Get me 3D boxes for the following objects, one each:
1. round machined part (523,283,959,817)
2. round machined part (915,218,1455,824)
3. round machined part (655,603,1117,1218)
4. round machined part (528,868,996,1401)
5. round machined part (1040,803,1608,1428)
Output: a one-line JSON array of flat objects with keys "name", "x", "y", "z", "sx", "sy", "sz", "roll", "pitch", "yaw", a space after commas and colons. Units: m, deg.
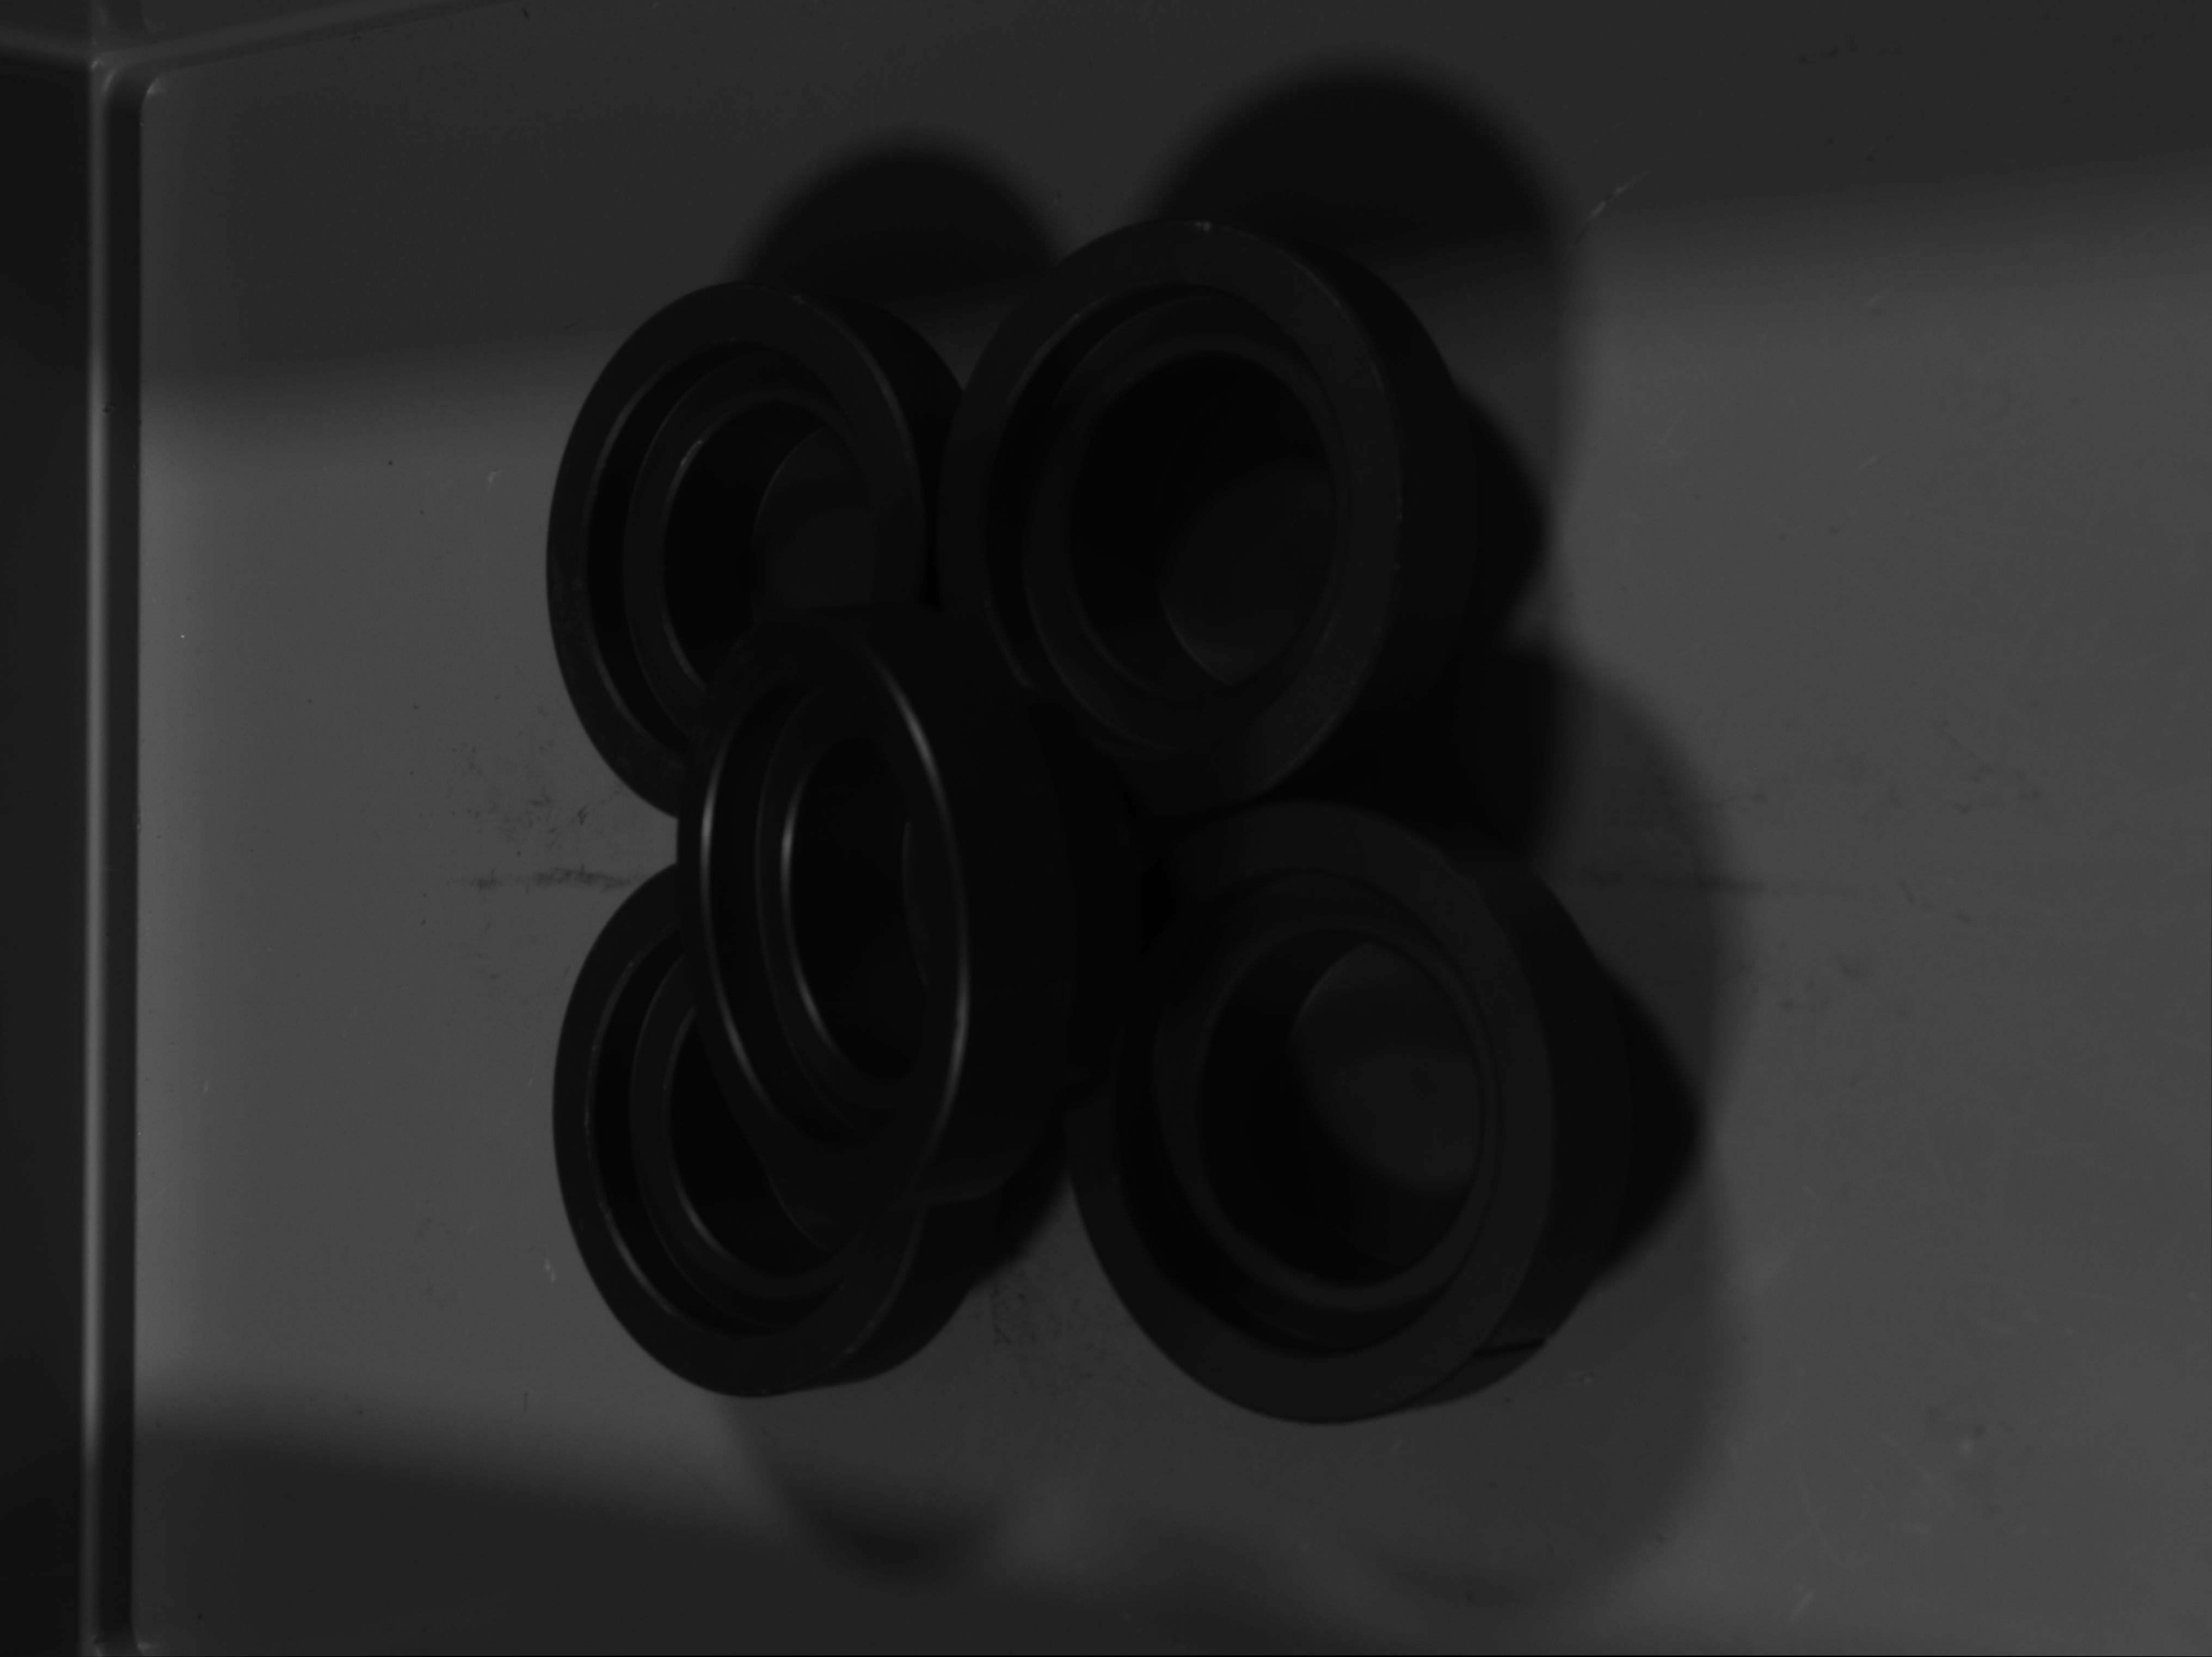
[{"name": "round machined part", "x": -0.059, "y": -0.049, "z": 0.672, "sx": 0.098, "sy": 0.042, "sz": 0.098, "roll": 0, "pitch": 90, "yaw": 39}, {"name": "round machined part", "x": 0.018, "y": -0.050, "z": 0.609, "sx": 0.098, "sy": 0.042, "sz": 0.098, "roll": 0, "pitch": 90, "yaw": 39}, {"name": "round machined part", "x": -0.034, "y": 0.012, "z": 0.596, "sx": 0.098, "sy": 0.042, "sz": 0.098, "roll": 13, "pitch": 106, "yaw": 57}, {"name": "round machined part", "x": -0.058, "y": 0.053, "z": 0.671, "sx": 0.098, "sy": 0.042, "sz": 0.098, "roll": 0, "pitch": 90, "yaw": 39}, {"name": "round machined part", "x": 0.040, "y": 0.045, "z": 0.591, "sx": 0.098, "sy": 0.042, "sz": 0.098, "roll": 0, "pitch": 90, "yaw": 39}]
